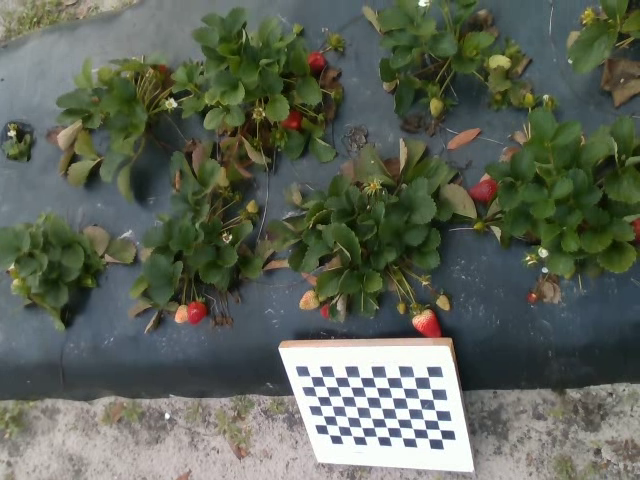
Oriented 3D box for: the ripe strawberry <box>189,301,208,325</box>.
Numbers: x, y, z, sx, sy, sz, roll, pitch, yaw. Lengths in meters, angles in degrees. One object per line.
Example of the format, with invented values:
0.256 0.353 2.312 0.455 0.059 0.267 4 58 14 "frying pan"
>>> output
-0.209 0.123 1.080 0.034 0.042 0.033 23 -25 6 "ripe strawberry"
